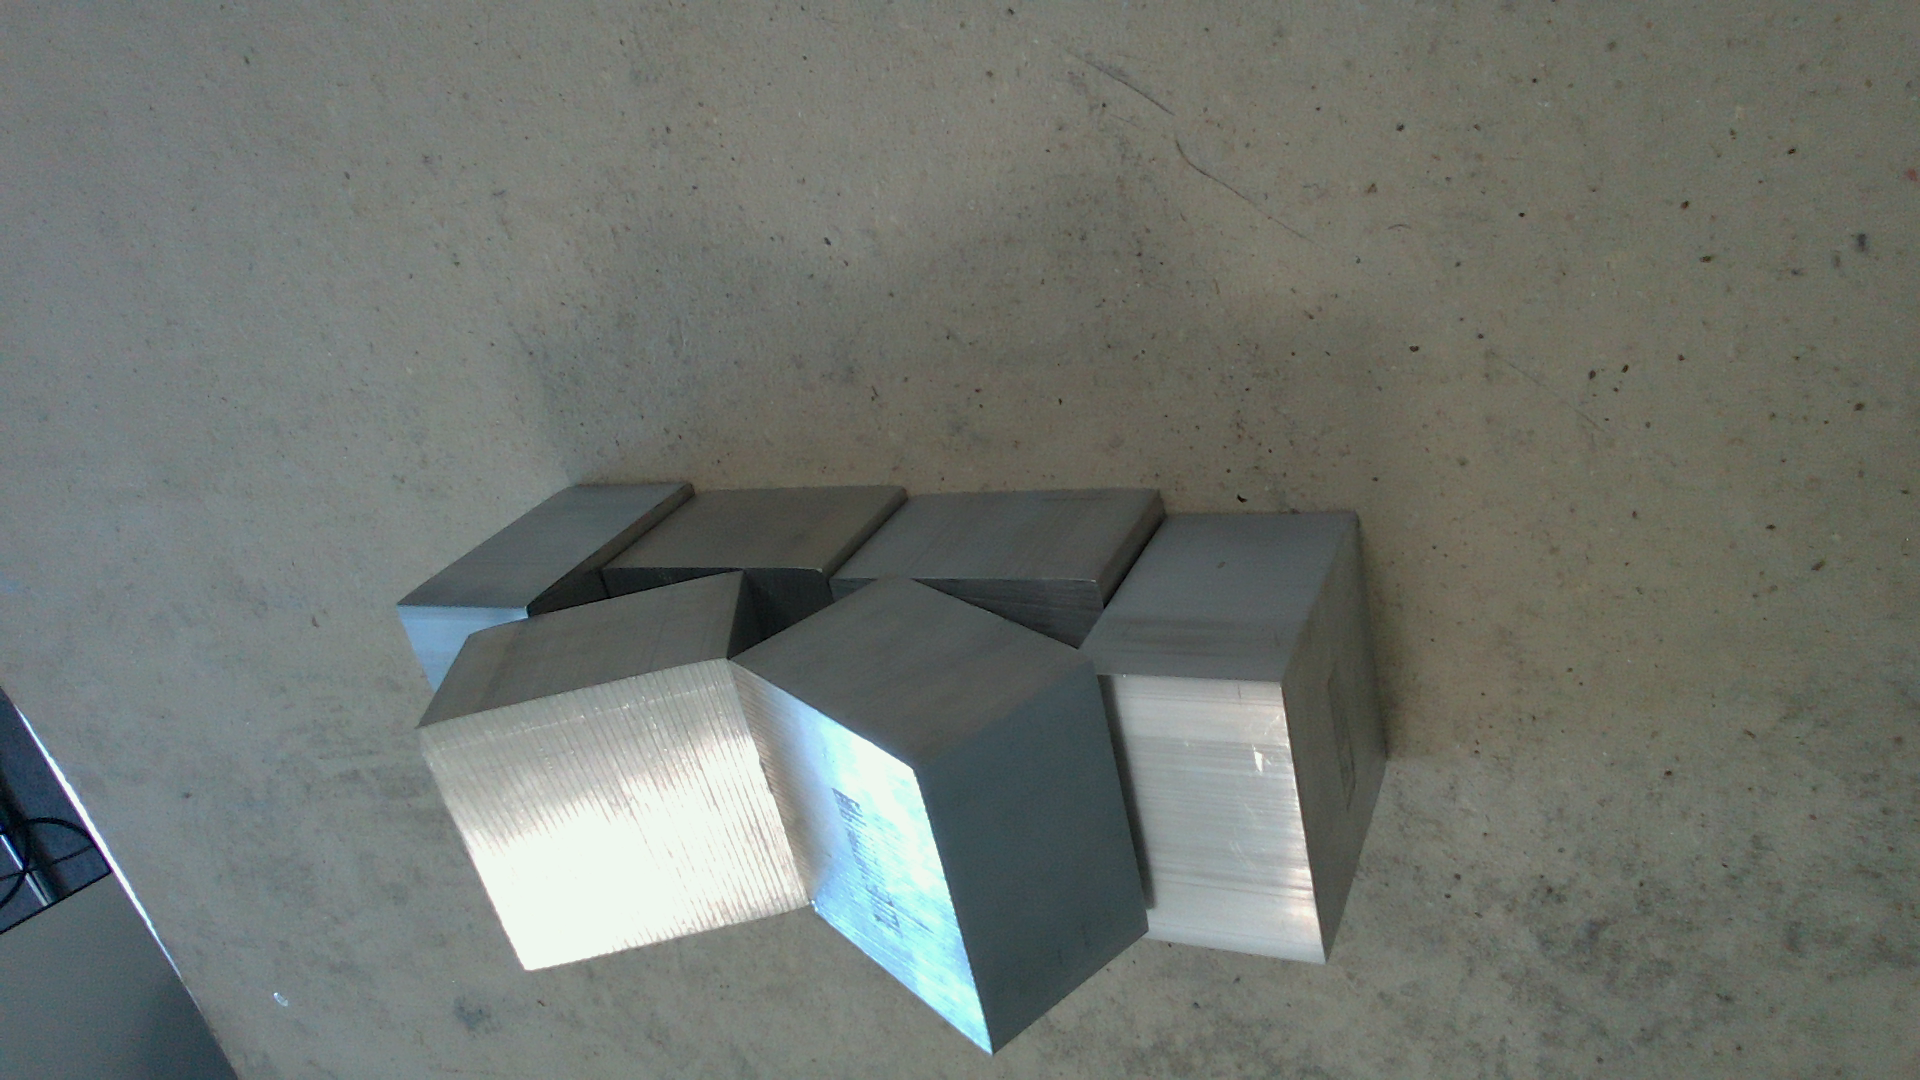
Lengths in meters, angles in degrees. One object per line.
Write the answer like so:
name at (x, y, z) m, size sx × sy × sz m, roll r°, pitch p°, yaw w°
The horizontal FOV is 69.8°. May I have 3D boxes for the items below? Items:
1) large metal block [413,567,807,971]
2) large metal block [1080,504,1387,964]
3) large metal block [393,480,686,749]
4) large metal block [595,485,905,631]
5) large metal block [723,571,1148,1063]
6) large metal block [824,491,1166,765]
large metal block at (-0.088, 0.062, 0.377) m, size 0.080 × 0.050 × 0.080 m, roll -13°, pitch 115°, yaw 2°
large metal block at (0.072, 0.045, 0.349) m, size 0.050 × 0.080 × 0.080 m, roll -1°, pitch 118°, yaw 28°
large metal block at (-0.119, 0.034, 0.442) m, size 0.050 × 0.080 × 0.080 m, roll 0°, pitch 117°, yaw 29°
large metal block at (-0.053, 0.031, 0.424) m, size 0.080 × 0.050 × 0.080 m, roll 0°, pitch 119°, yaw 28°
large metal block at (-0.006, 0.063, 0.334) m, size 0.080 × 0.050 × 0.080 m, roll 21°, pitch 131°, yaw 50°
large metal block at (0.018, 0.034, 0.387) m, size 0.080 × 0.050 × 0.080 m, roll 0°, pitch 119°, yaw 28°
